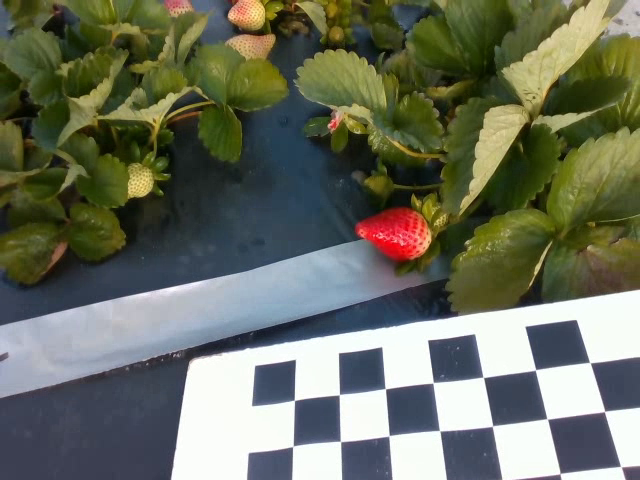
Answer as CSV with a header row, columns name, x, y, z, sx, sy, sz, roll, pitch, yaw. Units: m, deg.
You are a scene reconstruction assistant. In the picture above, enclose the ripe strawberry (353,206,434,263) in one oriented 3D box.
name,x,y,z,sx,sy,sz,roll,pitch,yaw
ripe strawberry,0.041,-0.005,0.345,0.055,0.050,0.036,-5,-34,-6
